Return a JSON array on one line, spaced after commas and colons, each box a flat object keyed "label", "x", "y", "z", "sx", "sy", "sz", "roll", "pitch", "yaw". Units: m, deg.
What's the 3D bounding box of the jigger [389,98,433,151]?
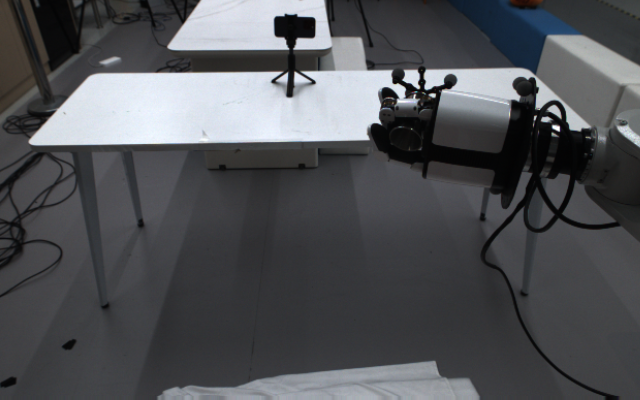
[{"label": "jigger", "x": 0.122, "y": -0.103, "z": 0.624, "sx": 0.043, "sy": 0.043, "sz": 0.071, "roll": 13, "pitch": 58, "yaw": 15}]
